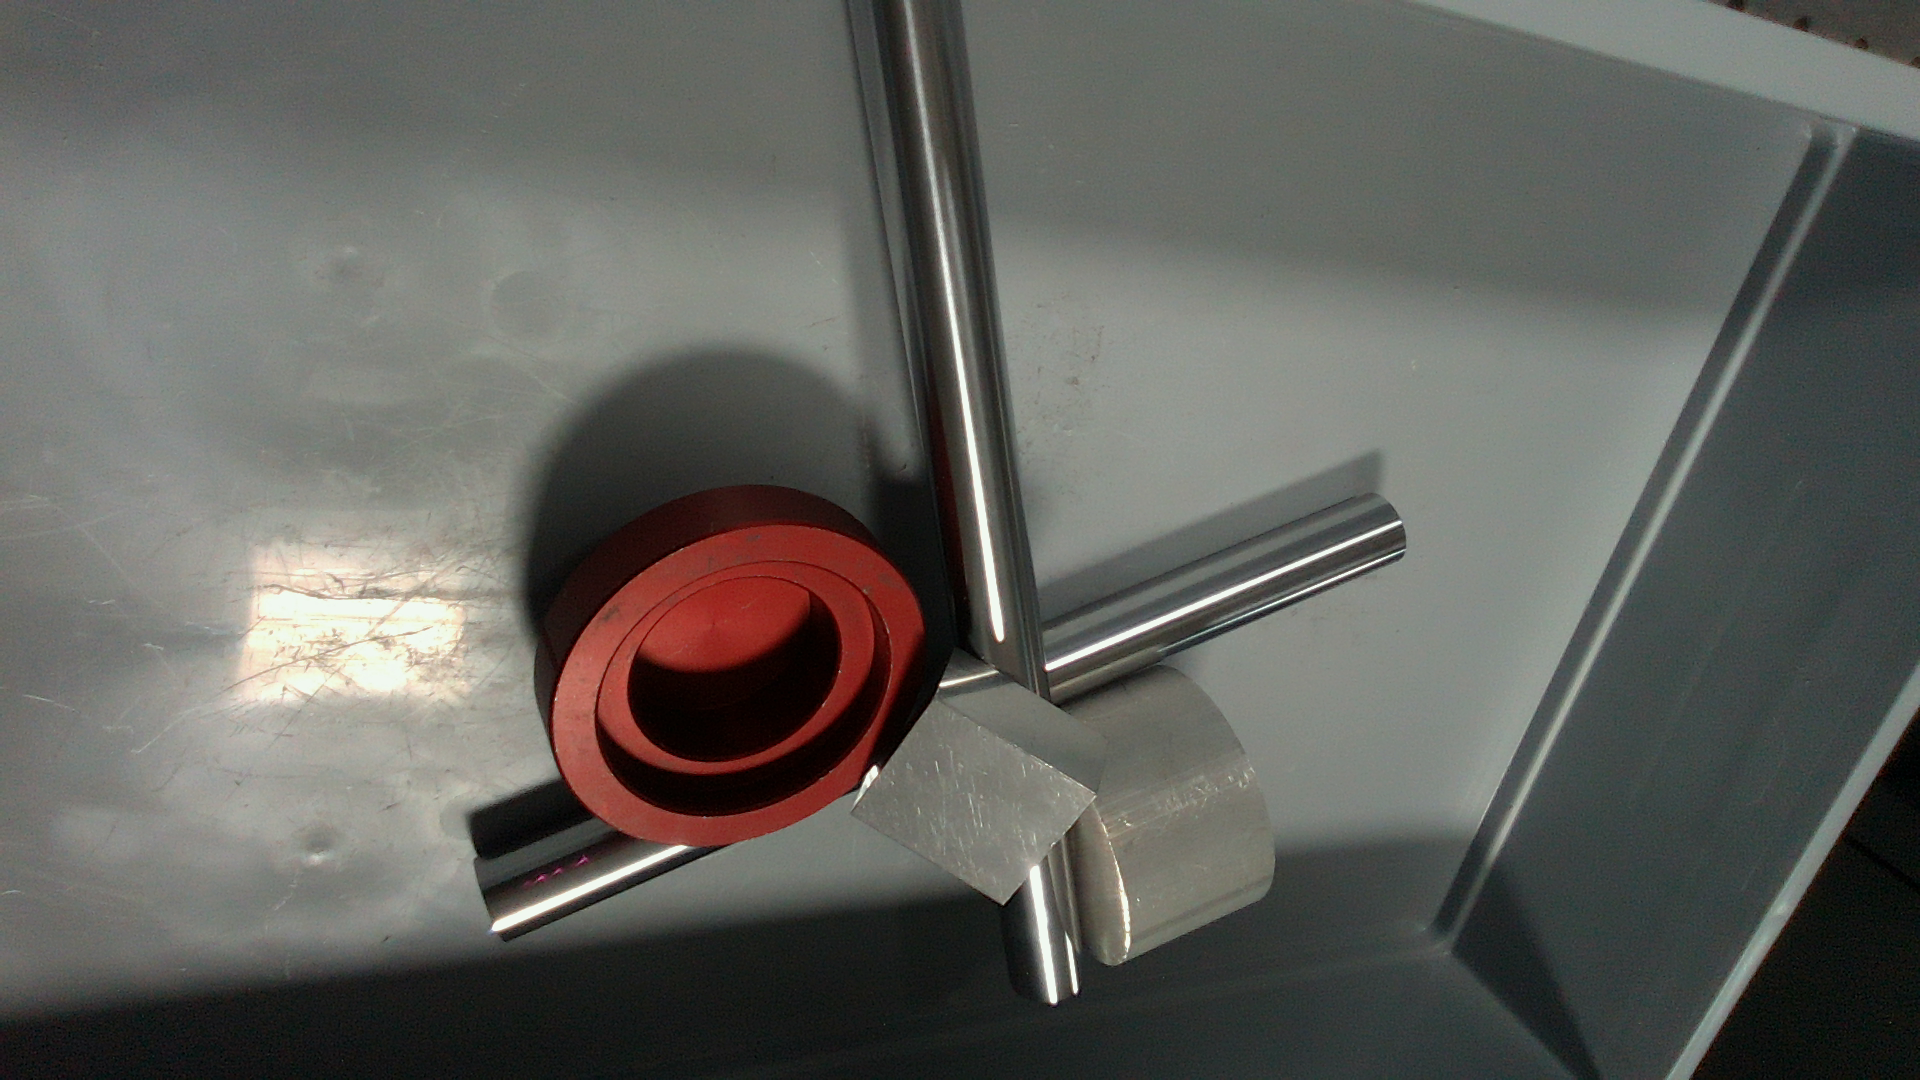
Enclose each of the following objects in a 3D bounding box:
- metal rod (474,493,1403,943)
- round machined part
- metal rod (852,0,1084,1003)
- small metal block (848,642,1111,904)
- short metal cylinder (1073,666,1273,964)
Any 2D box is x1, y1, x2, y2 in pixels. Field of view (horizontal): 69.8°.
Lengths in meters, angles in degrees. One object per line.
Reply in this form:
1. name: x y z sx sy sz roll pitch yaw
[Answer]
1. metal rod: 0.006 0.048 0.420 0.301 0.025 0.025 -21 126 -16
2. round machined part: -0.062 0.028 0.361 0.098 0.042 0.098 -14 124 -21
3. metal rod: 0.008 0.007 0.373 0.025 0.025 0.300 -18 119 -18
4. small metal block: 0.005 0.064 0.377 0.050 0.025 0.050 32 121 -5
5. short metal cylinder: 0.054 0.085 0.434 0.050 0.080 0.080 -18 126 -18
